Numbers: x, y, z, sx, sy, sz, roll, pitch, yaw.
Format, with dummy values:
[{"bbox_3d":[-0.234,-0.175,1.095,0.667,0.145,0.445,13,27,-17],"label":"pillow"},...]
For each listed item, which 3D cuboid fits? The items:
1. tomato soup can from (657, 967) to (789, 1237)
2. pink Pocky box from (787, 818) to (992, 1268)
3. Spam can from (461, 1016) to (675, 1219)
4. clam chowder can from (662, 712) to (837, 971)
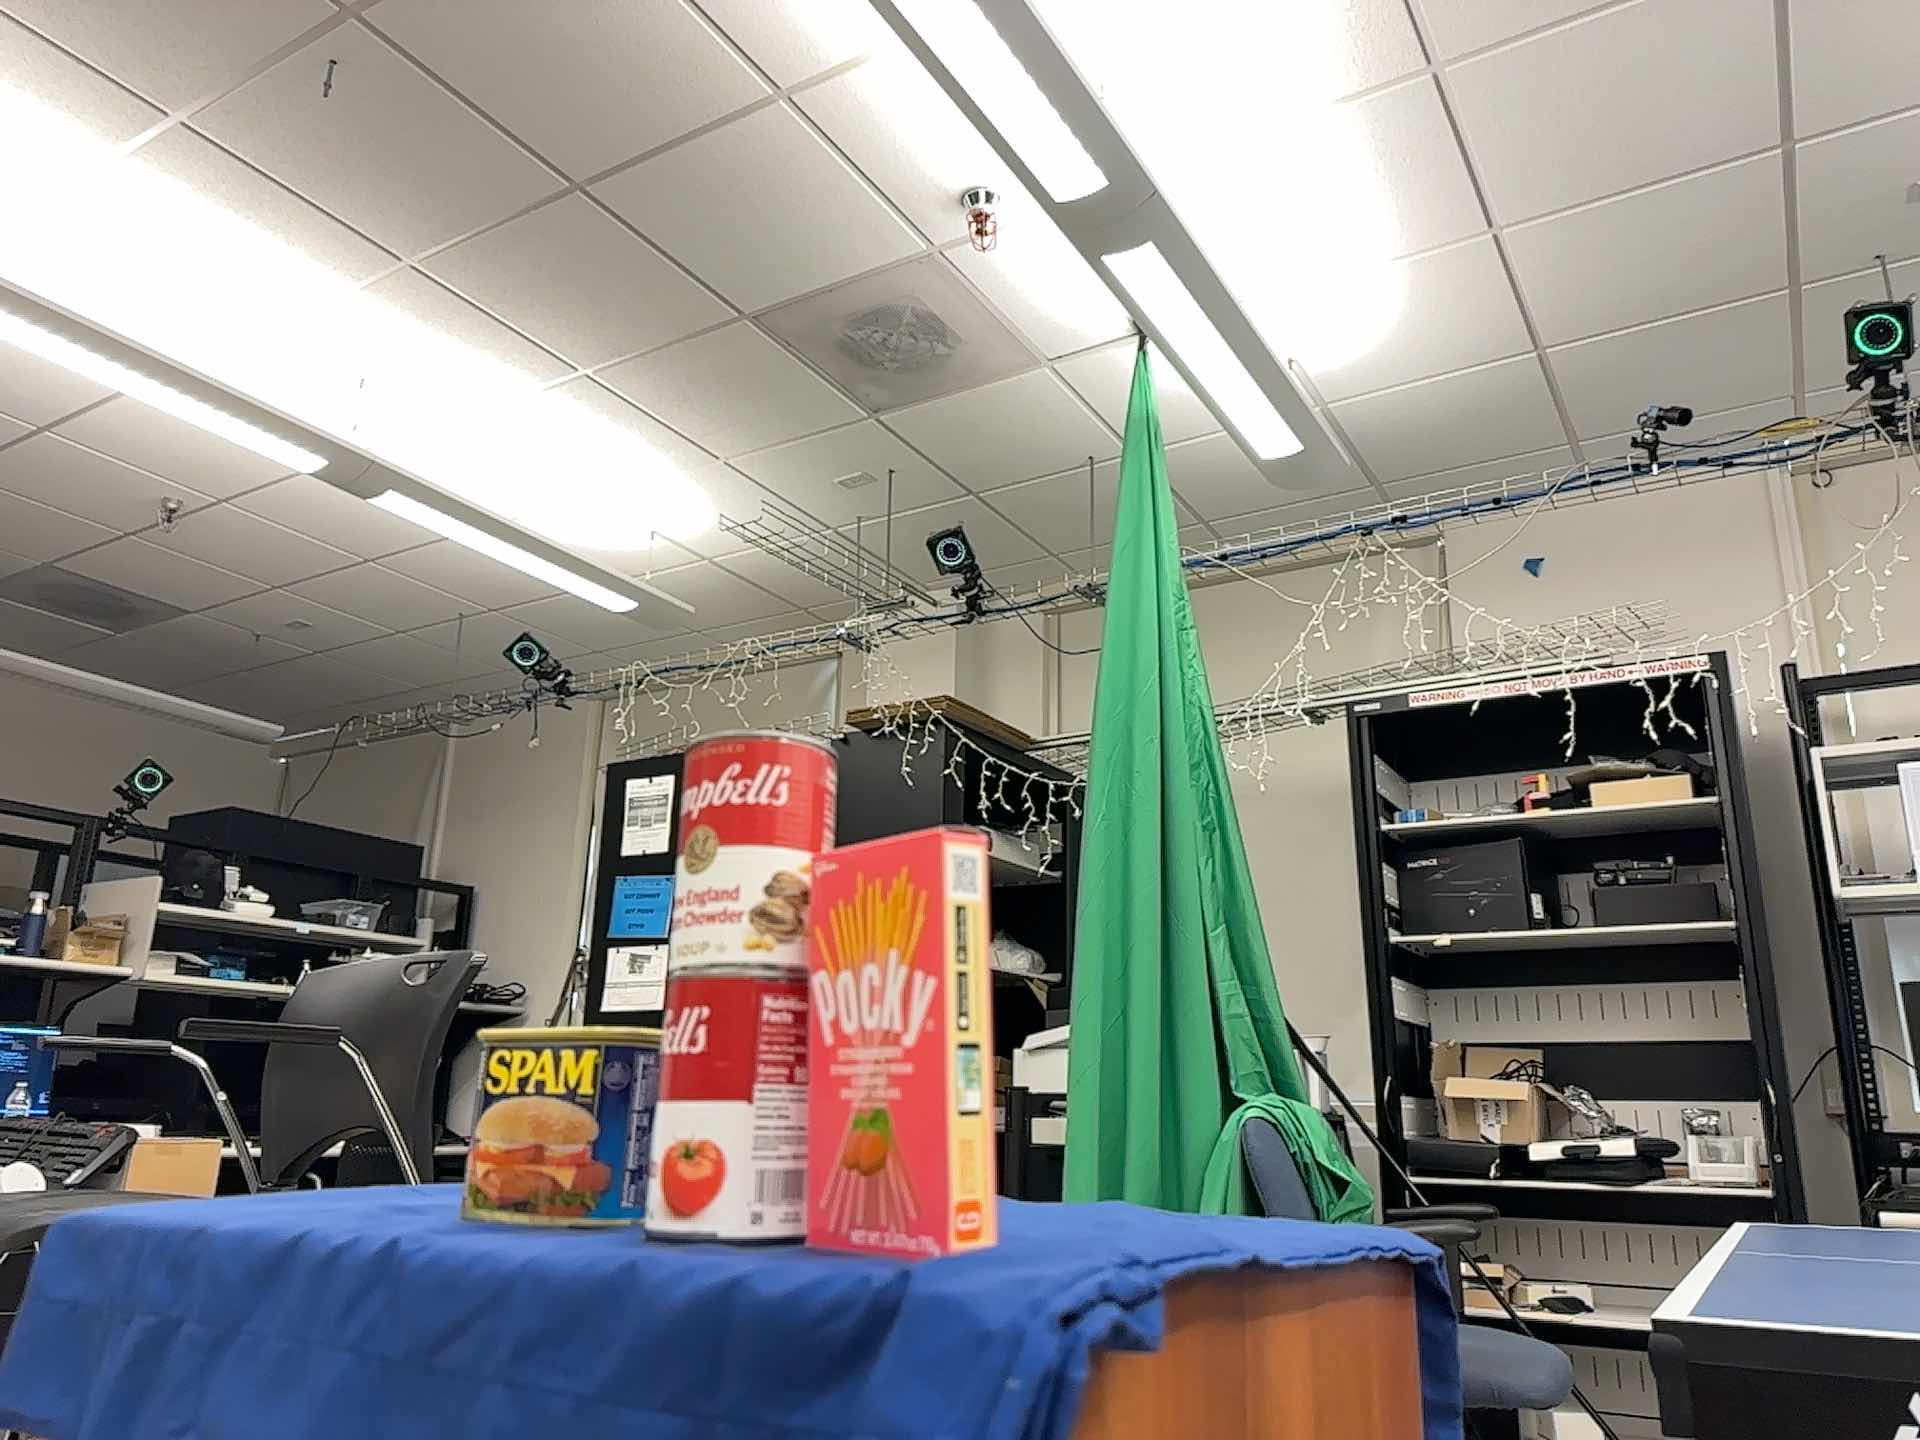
[{"bbox_3d":[-0.087,0.156,0.553,0.067,0.102,0.067,2,-16,0],"label":"tomato soup can"},{"bbox_3d":[-0.029,0.119,0.502,0.084,0.154,0.029,-15,-20,42],"label":"pink Pocky box"},{"bbox_3d":[-0.178,0.181,0.621,0.100,0.083,0.056,-7,-17,30],"label":"Spam can"},{"bbox_3d":[-0.089,0.055,0.577,0.068,0.102,0.068,1,-19,0],"label":"clam chowder can"}]
